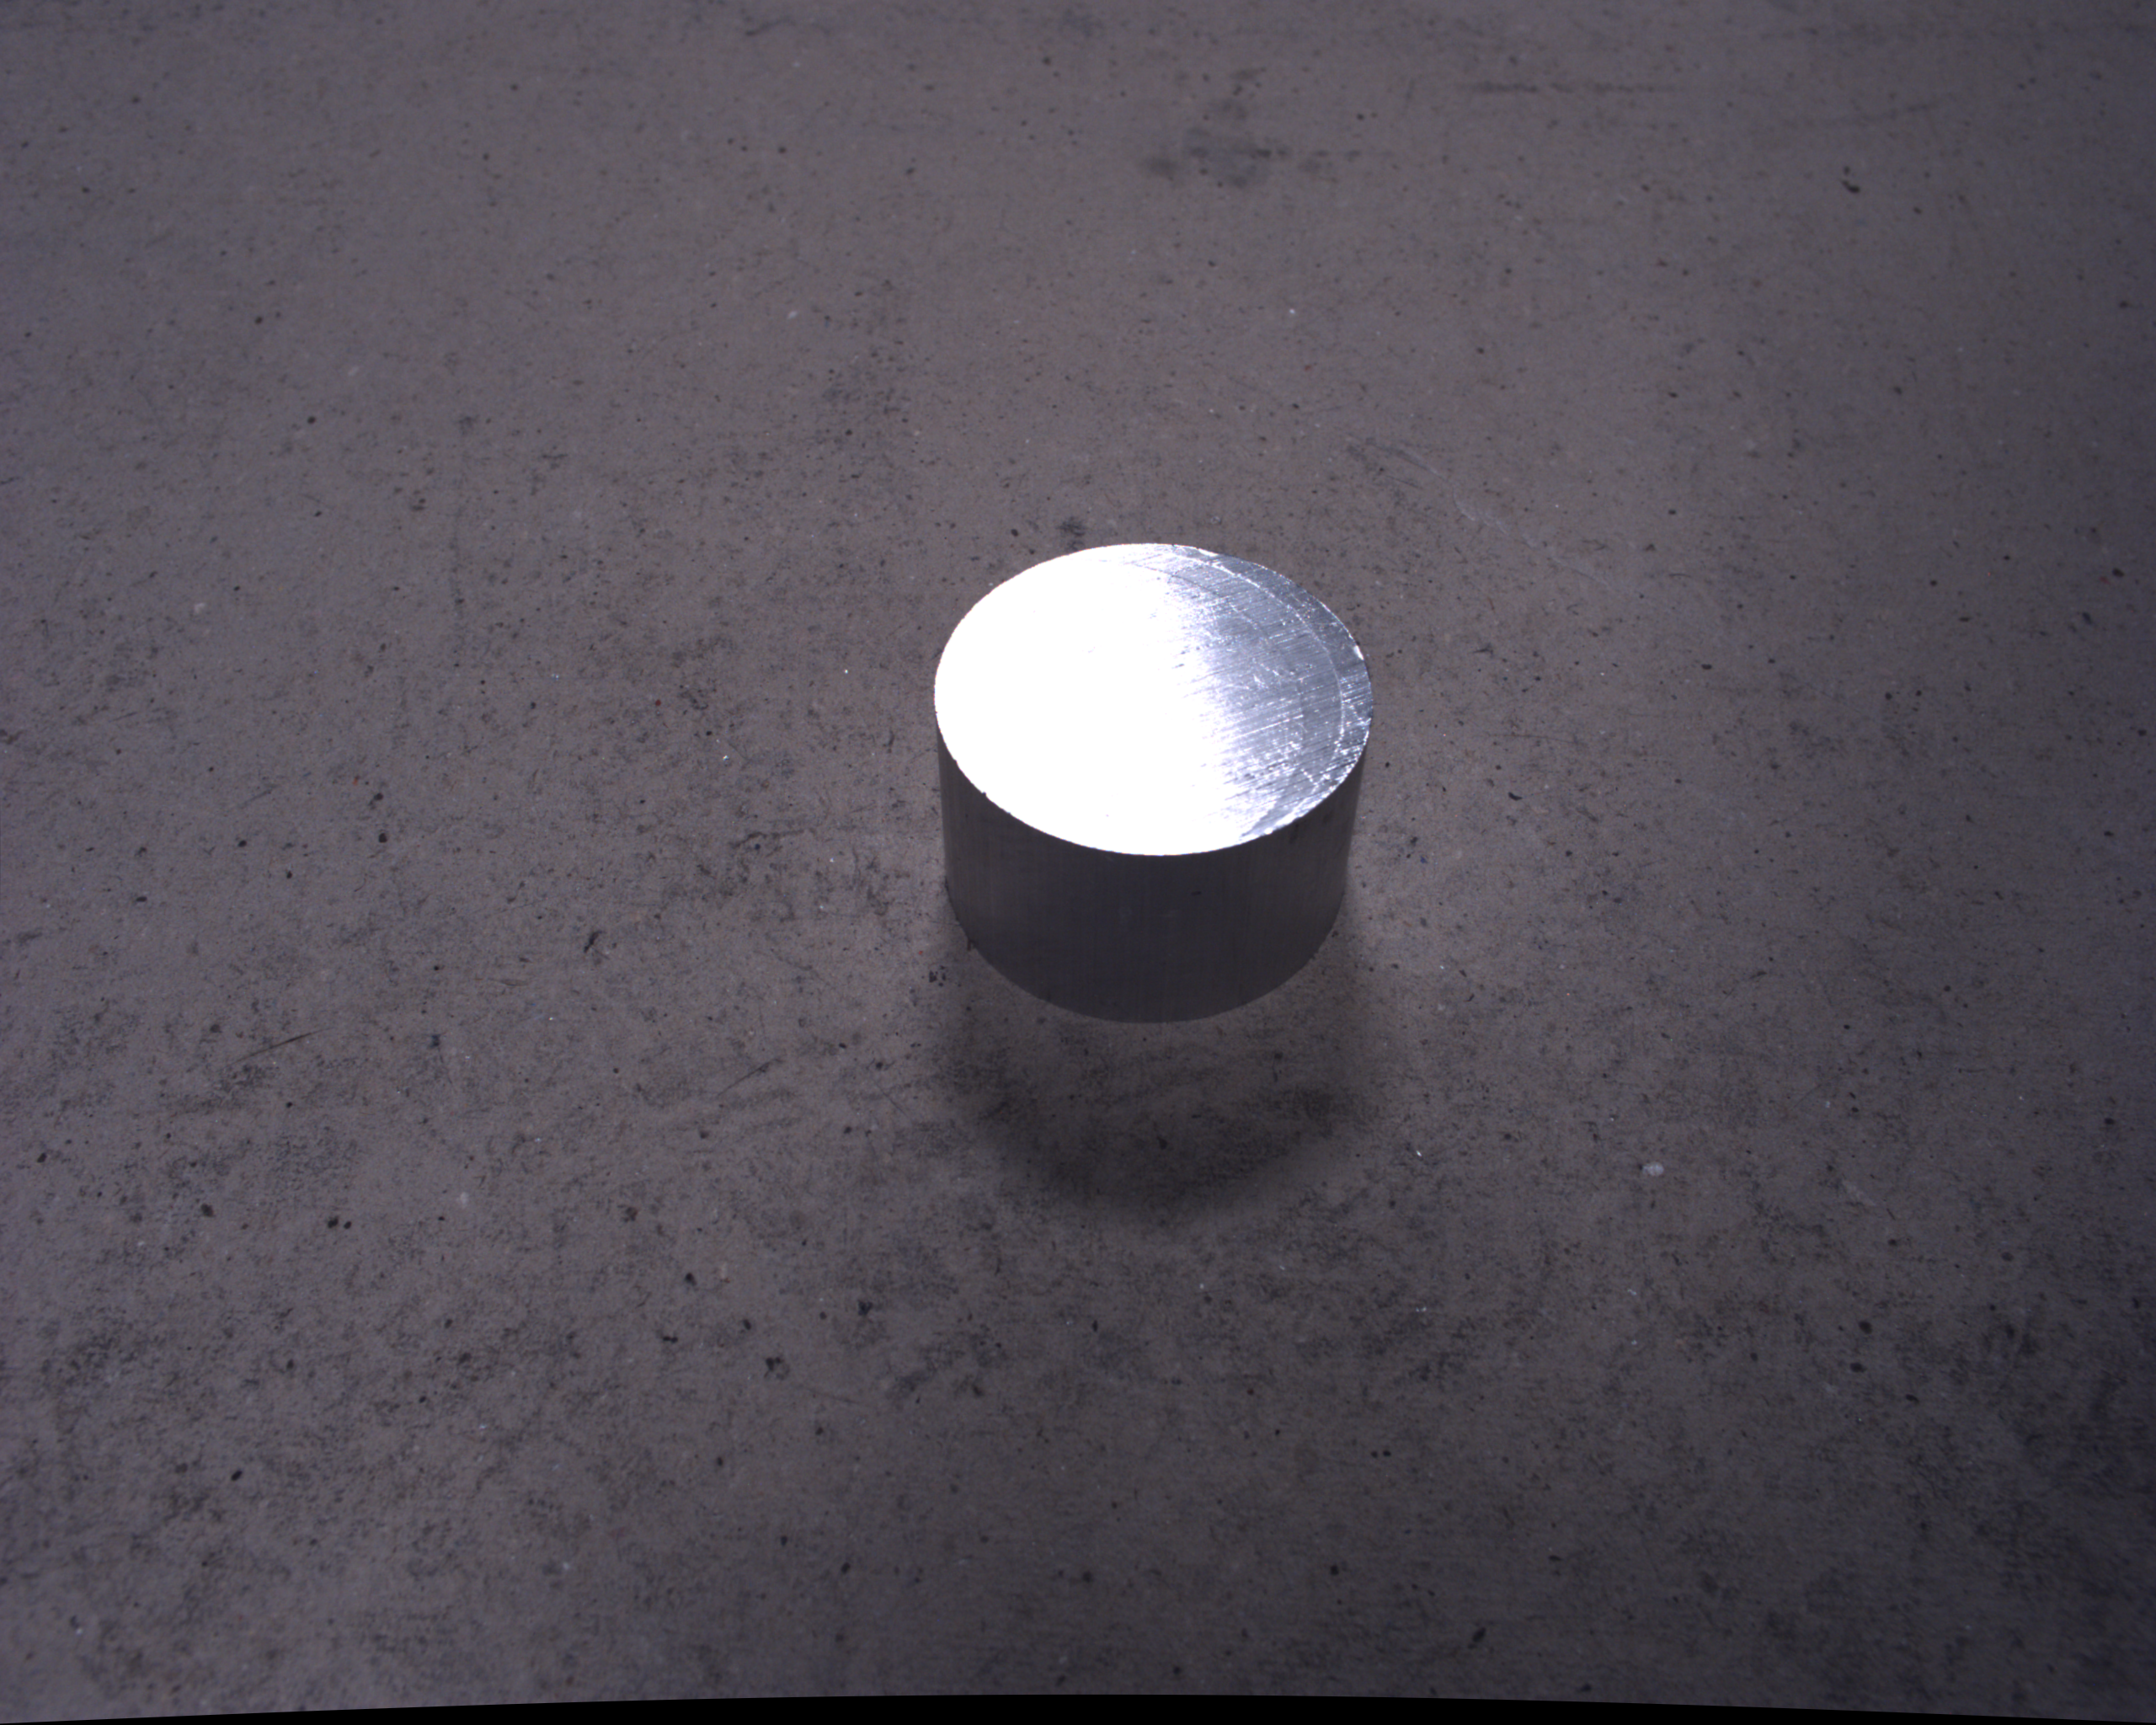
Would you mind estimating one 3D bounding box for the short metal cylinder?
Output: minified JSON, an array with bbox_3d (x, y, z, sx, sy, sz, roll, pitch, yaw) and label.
[{"bbox_3d":[0.014,-0.016,0.402,0.081,0.050,0.080,0,50,0],"label":"short metal cylinder"}]
